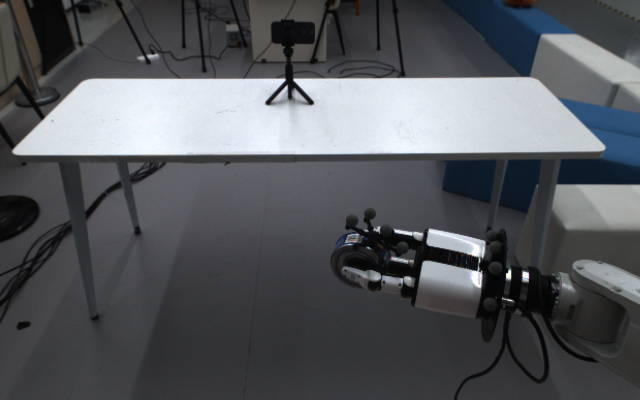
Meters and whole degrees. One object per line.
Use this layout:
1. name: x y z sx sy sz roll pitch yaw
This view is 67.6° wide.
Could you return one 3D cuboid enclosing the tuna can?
1. tuna can: 0.063 0.096 0.709 0.085 0.085 0.034 12 35 14
